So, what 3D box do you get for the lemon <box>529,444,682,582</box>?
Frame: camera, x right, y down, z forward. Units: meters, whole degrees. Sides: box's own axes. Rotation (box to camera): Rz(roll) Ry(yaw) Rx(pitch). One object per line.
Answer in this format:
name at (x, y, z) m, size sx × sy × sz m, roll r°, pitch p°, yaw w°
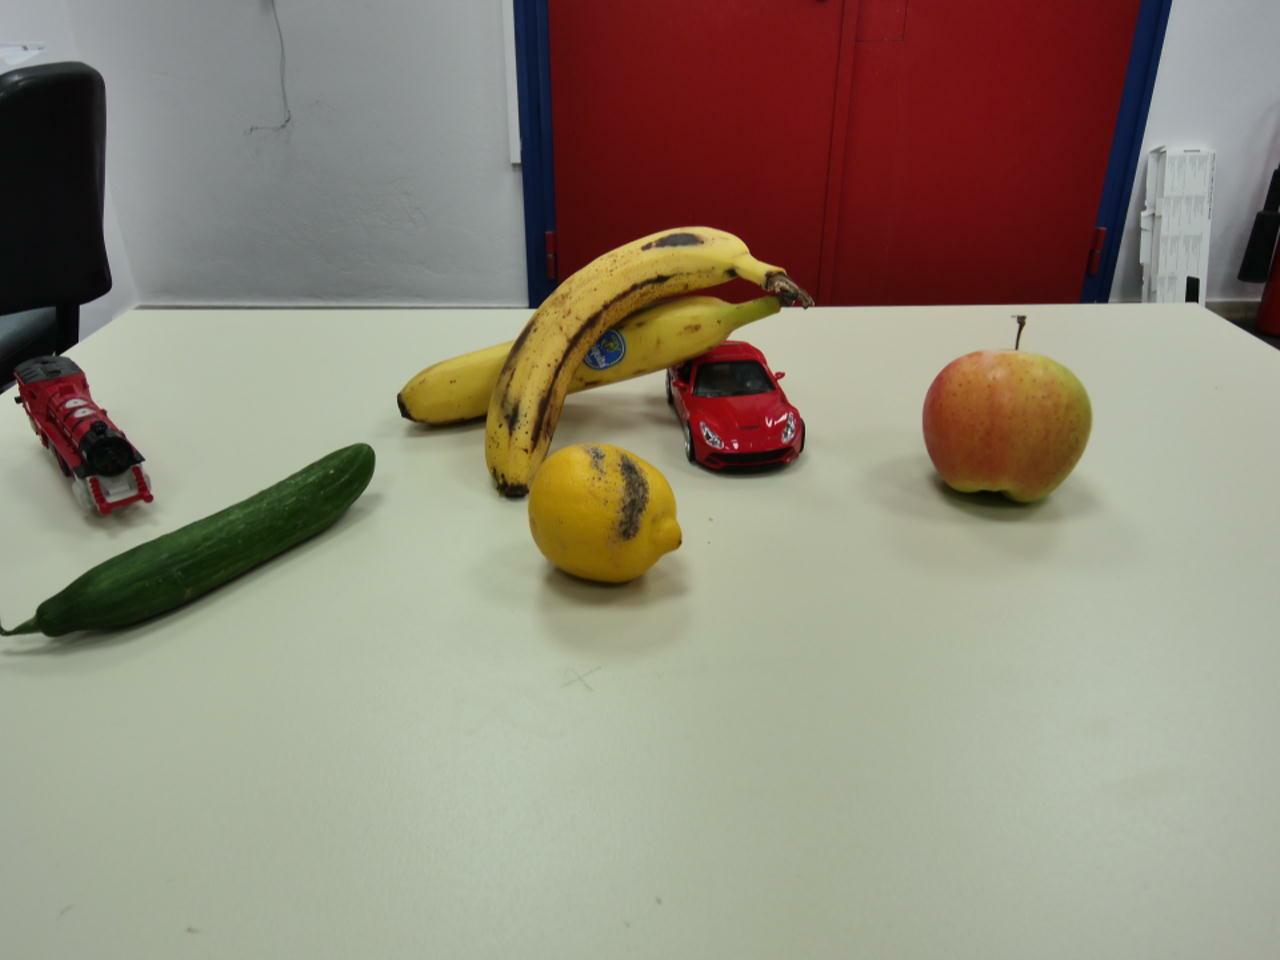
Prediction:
lemon at (-0.016, 0.013, 0.416) m, size 0.061 × 0.056 × 0.058 m, roll -4°, pitch 25°, yaw -7°
